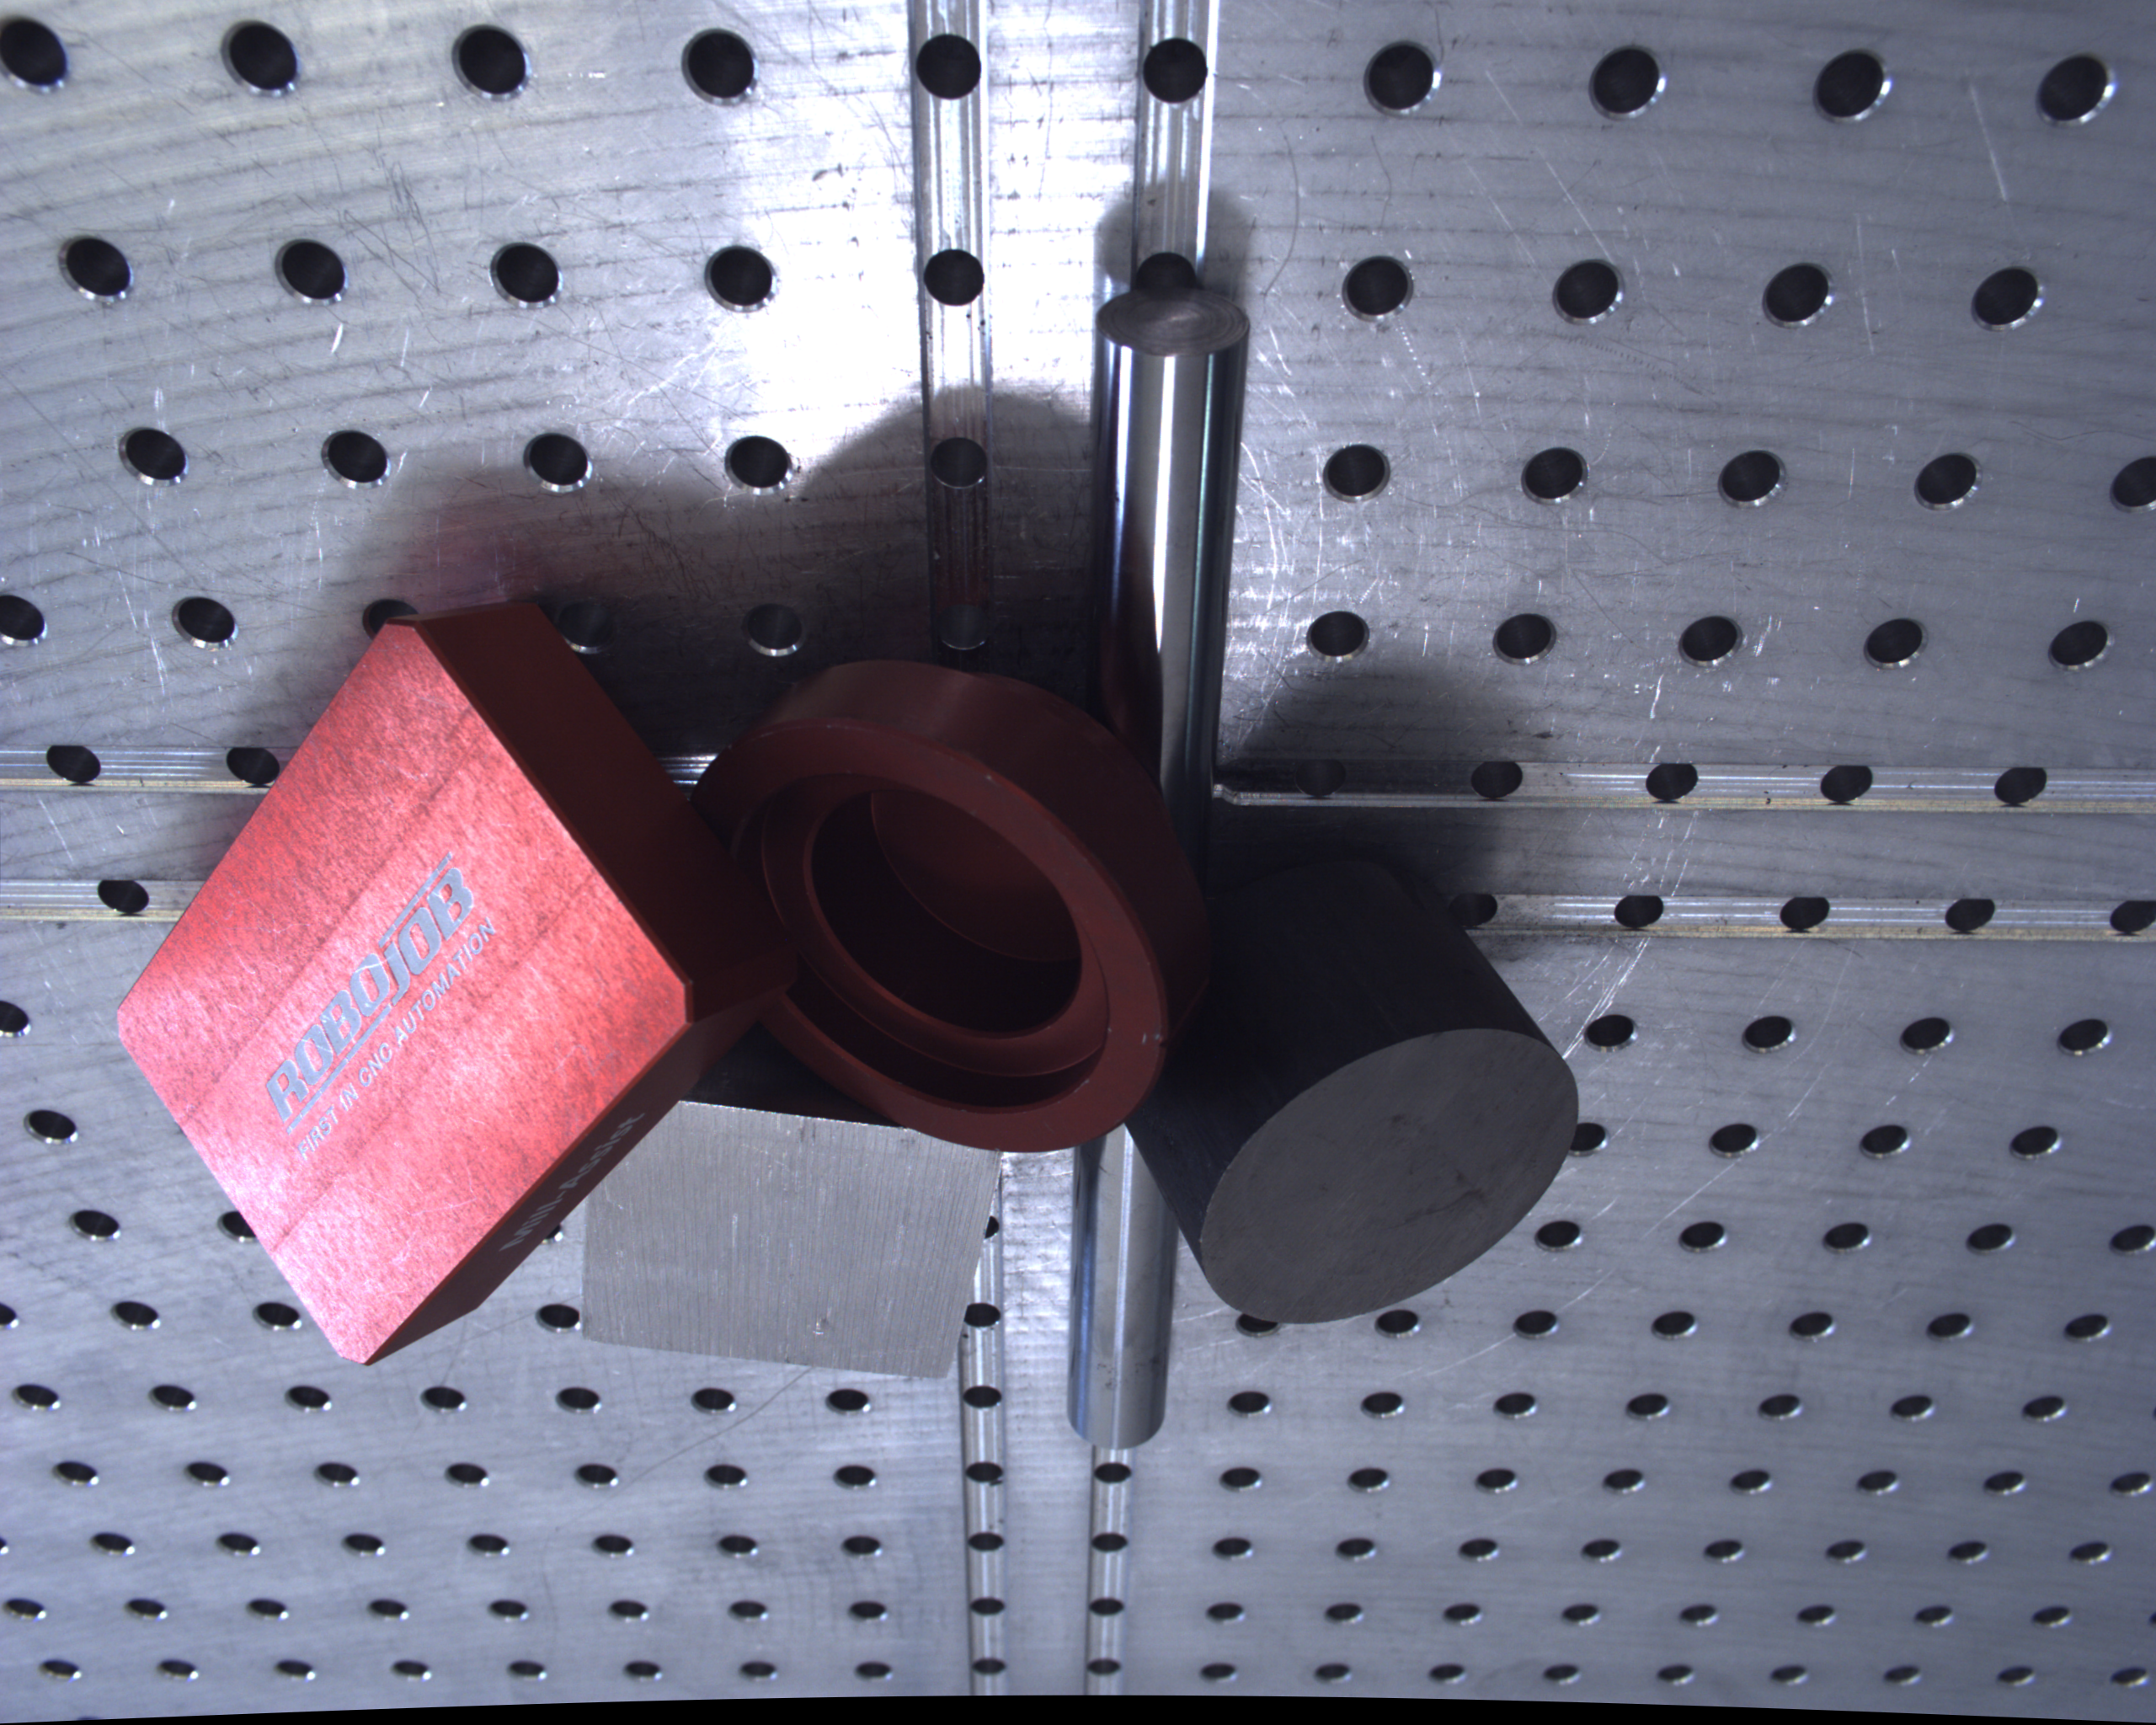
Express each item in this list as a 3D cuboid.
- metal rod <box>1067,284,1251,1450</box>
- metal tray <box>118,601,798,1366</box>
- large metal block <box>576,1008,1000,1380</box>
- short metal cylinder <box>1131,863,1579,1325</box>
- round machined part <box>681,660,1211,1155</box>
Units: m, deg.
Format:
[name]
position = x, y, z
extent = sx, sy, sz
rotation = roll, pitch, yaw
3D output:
[metal rod]
position = 0.013, 0.025, 0.434
extent = 0.025, 0.025, 0.298
rotation = 1, 130, -1
[metal tray]
position = -0.122, 0.025, 0.396
extent = 0.129, 0.030, 0.090
rotation = -44, 80, 30
[large metal block]
position = -0.061, 0.063, 0.448
extent = 0.081, 0.050, 0.079
rotation = 8, 130, -7
[short metal cylinder]
position = 0.052, 0.047, 0.418
extent = 0.081, 0.050, 0.079
rotation = -14, 132, -15
[round machined part]
position = -0.020, 0.004, 0.387
extent = 0.098, 0.042, 0.097
rotation = 16, 132, 19
